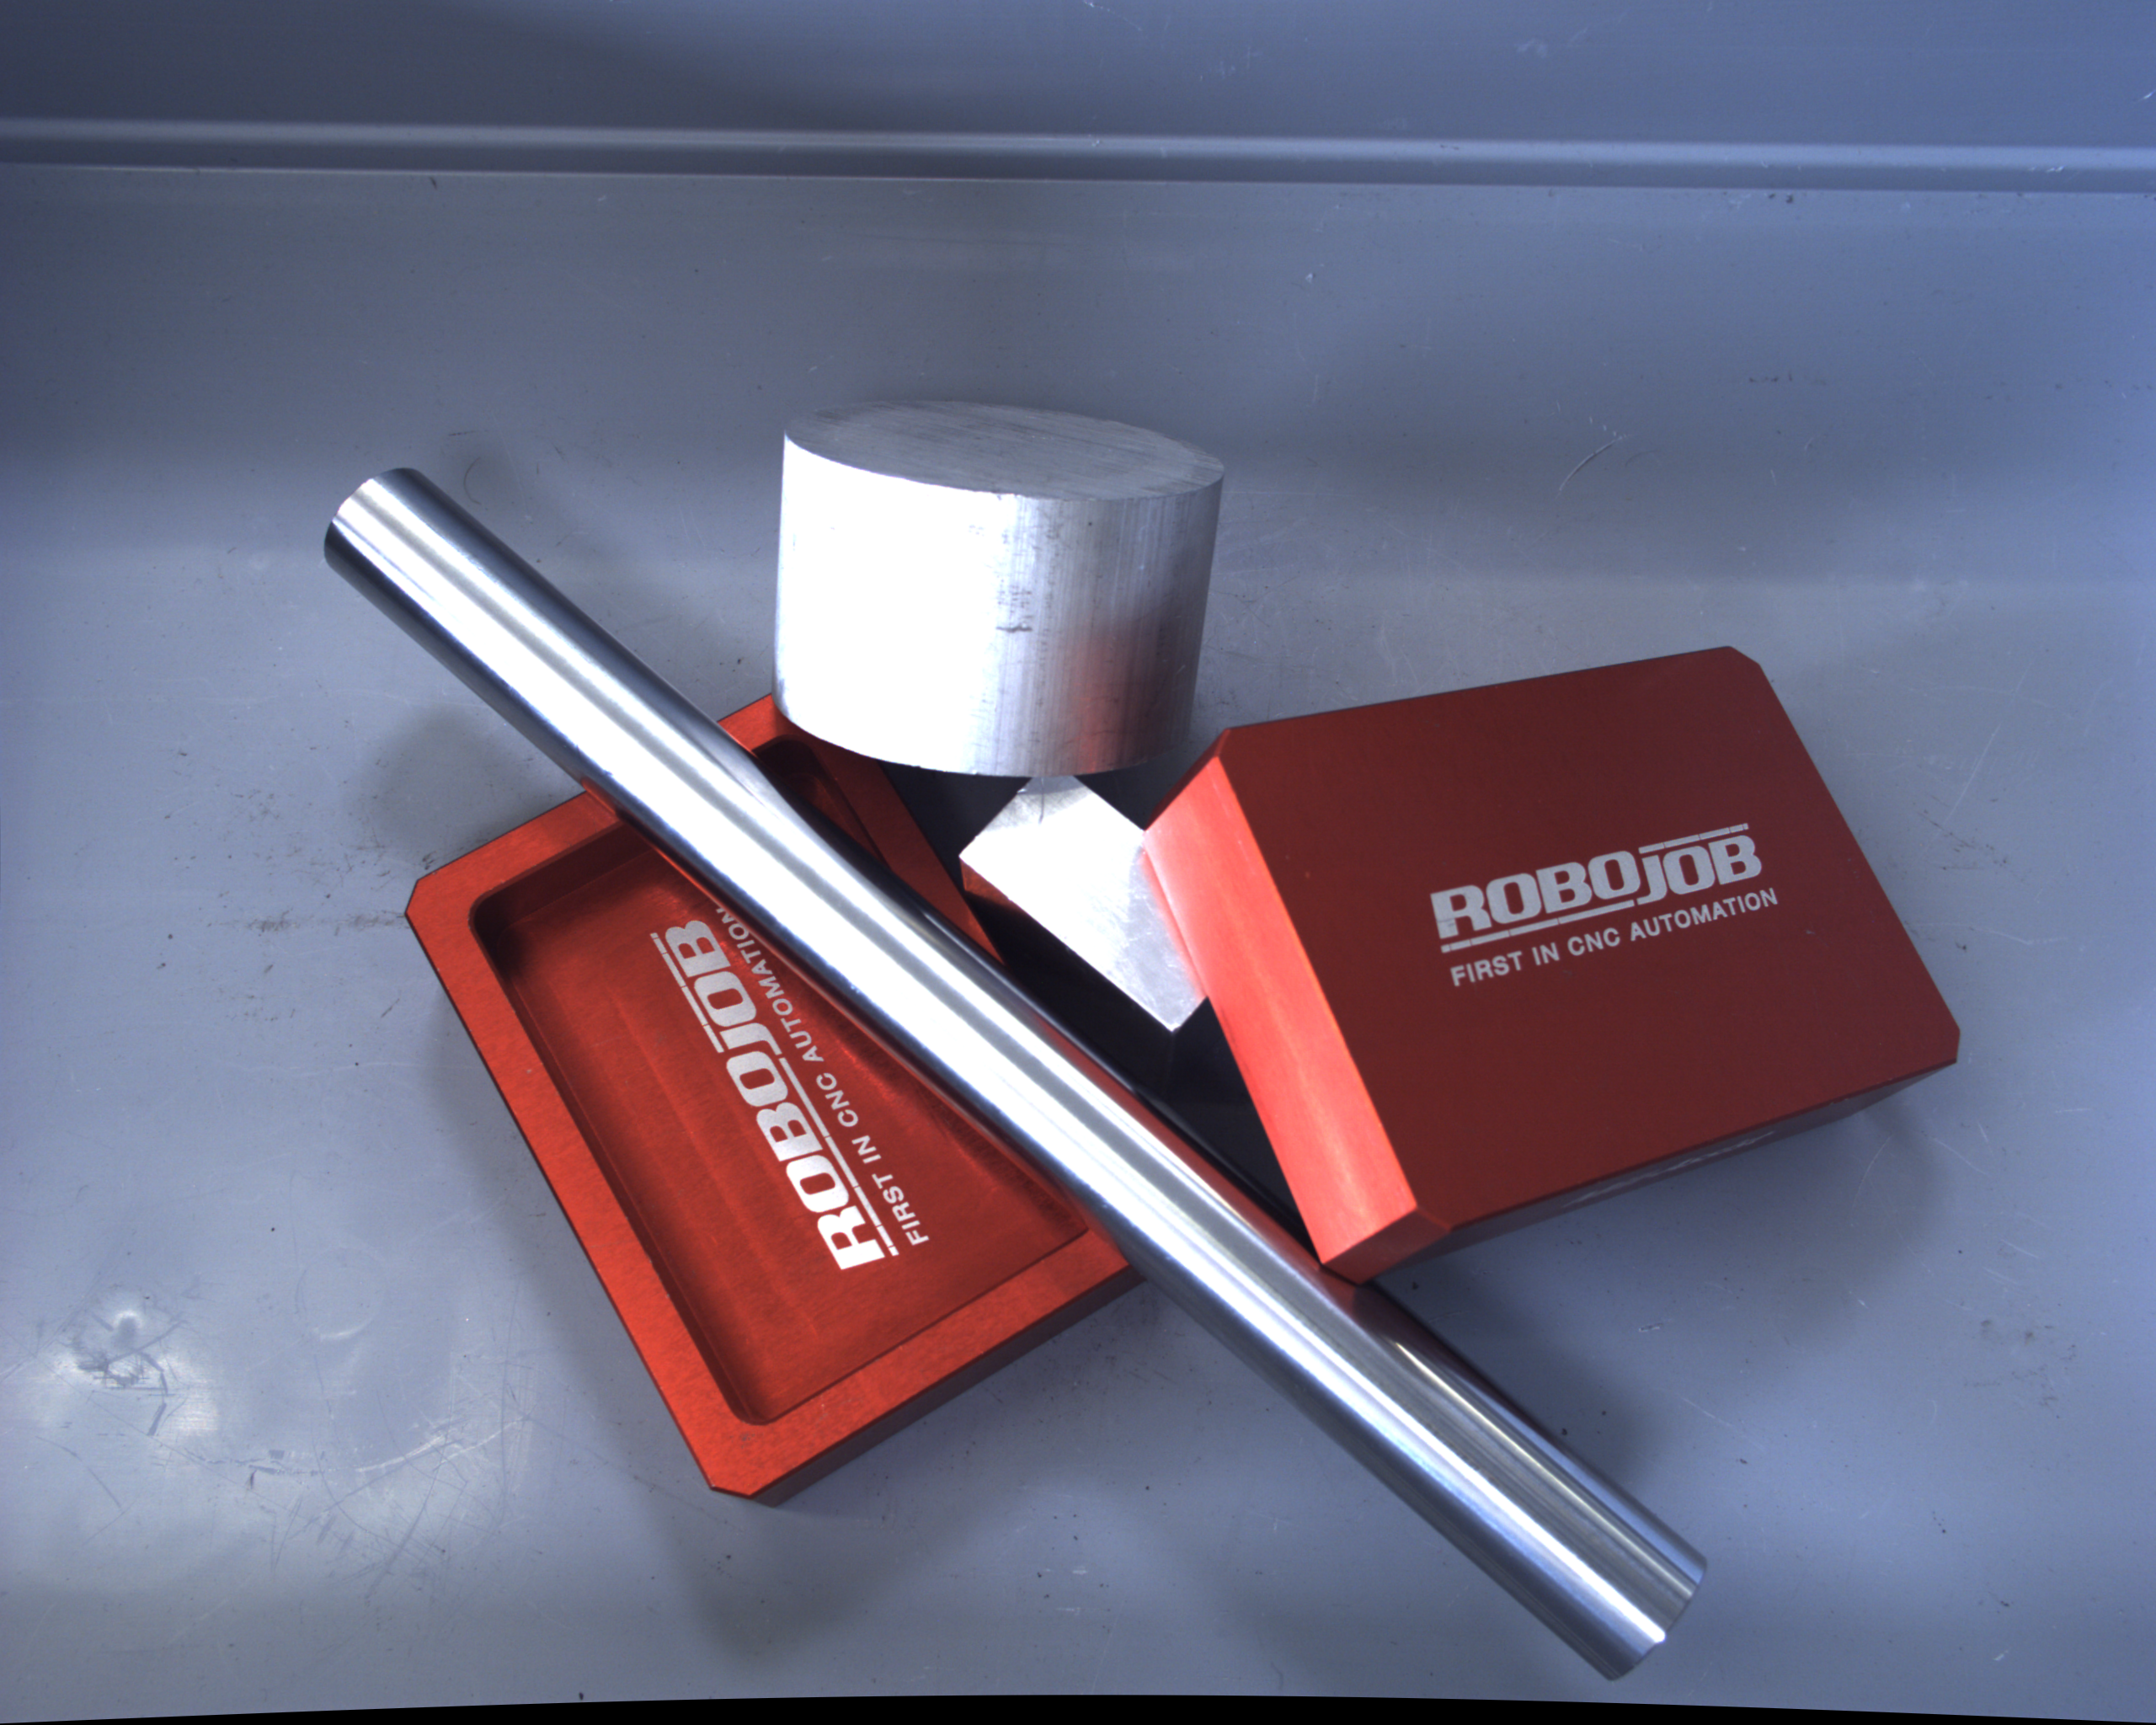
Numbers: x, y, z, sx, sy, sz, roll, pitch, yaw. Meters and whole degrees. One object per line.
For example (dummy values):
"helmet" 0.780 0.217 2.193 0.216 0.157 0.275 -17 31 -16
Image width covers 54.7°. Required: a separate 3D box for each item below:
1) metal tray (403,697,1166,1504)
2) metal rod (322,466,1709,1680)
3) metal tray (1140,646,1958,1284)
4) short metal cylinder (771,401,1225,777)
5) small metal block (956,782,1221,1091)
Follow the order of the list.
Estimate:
"metal tray" -0.055 0.040 0.389 0.090 0.030 0.130 -30 73 -11
"metal rod" -0.021 0.028 0.366 0.300 0.025 0.025 39 75 12
"metal tray" 0.086 0.013 0.374 0.131 0.030 0.090 -11 68 -30
"short metal cylinder" -0.016 -0.054 0.391 0.080 0.080 0.050 8 112 3
"small metal block" 0.006 0.013 0.389 0.050 0.050 0.025 39 75 13
